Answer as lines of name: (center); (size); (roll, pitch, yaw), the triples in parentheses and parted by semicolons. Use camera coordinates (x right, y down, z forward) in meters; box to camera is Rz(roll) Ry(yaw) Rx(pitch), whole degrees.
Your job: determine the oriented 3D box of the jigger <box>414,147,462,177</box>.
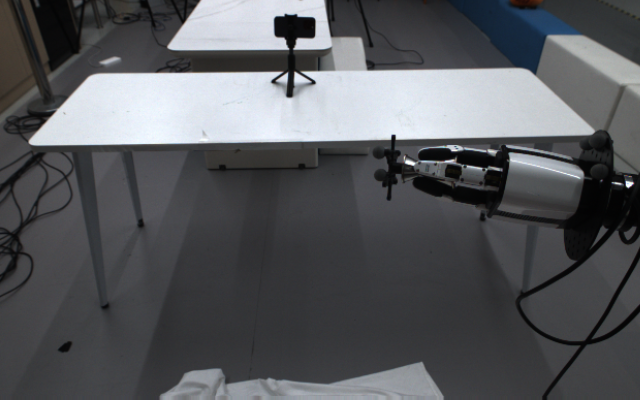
jigger: (0.152, -0.044, 0.642); (0.071, 0.043, 0.043); (5, 34, 19)
